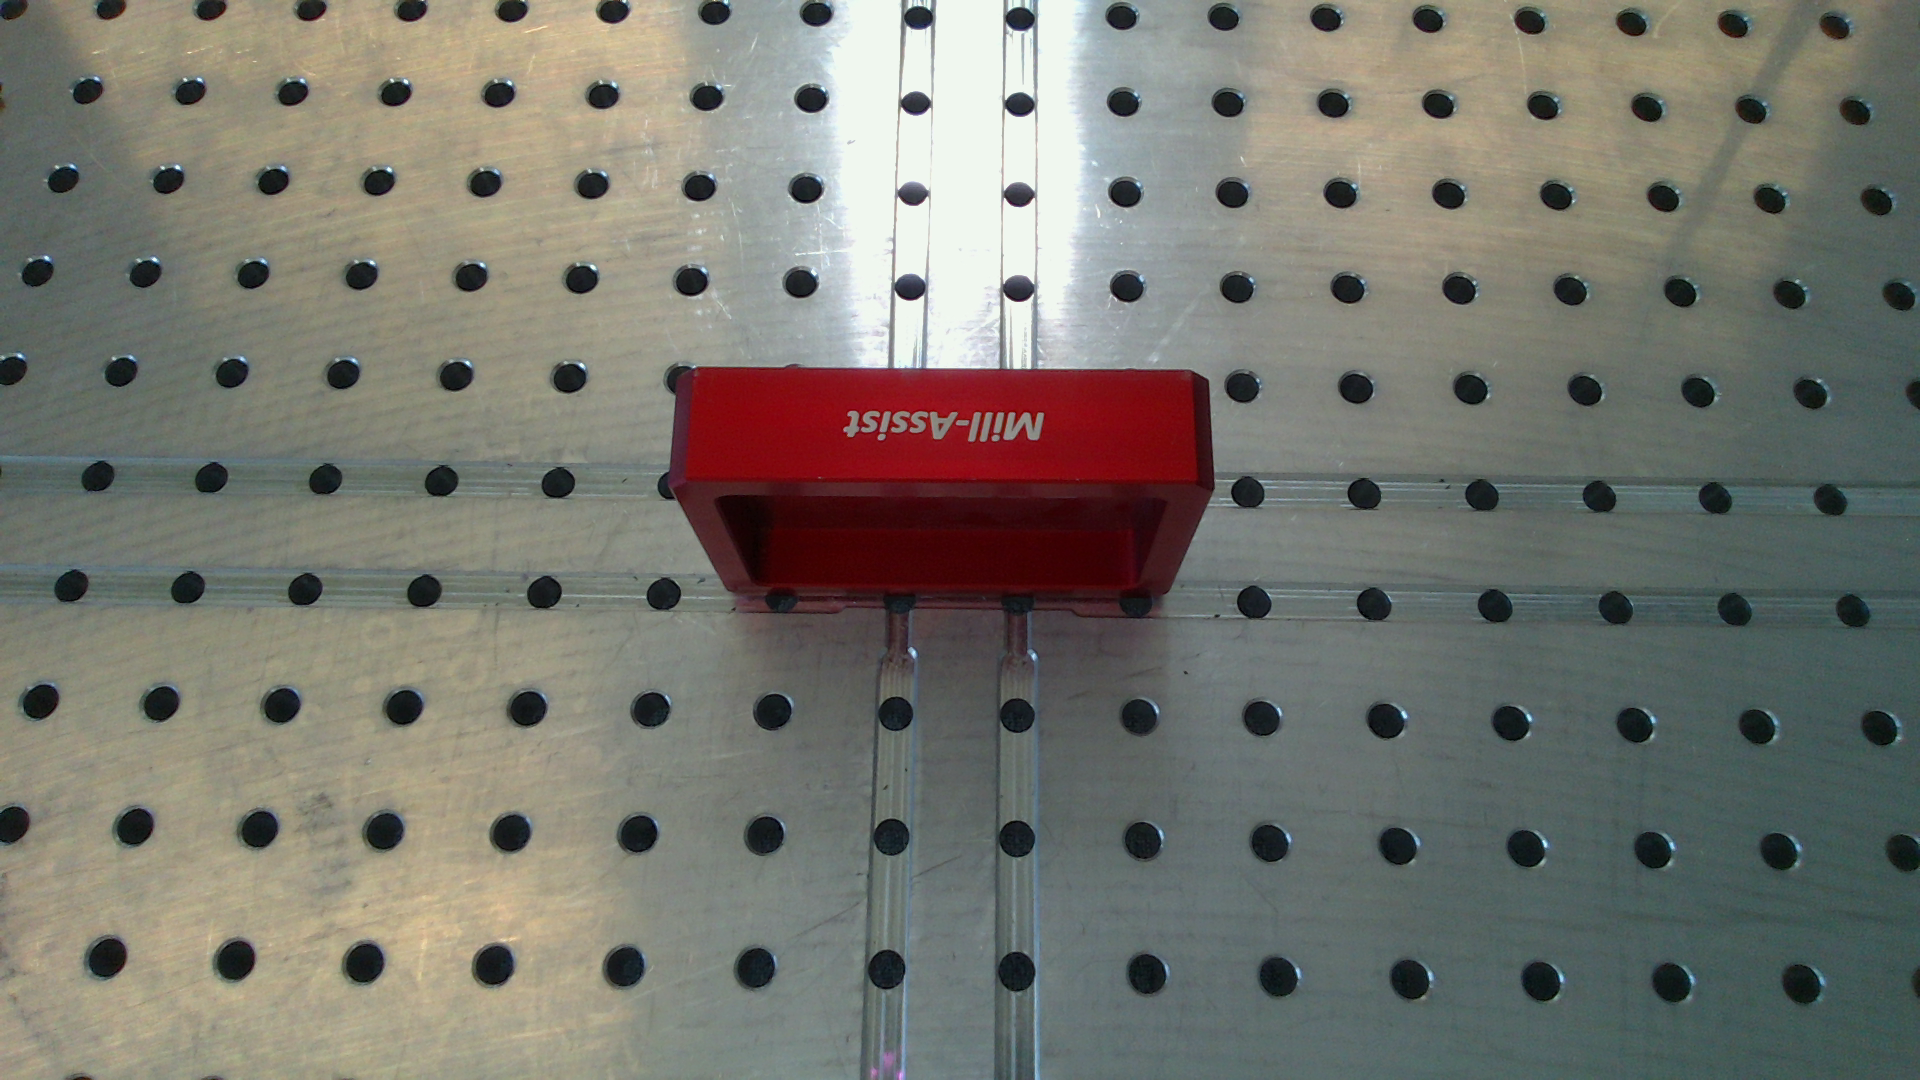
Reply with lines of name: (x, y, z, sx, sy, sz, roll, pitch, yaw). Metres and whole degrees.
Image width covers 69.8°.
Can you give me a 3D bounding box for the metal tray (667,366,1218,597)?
metal tray: (-0.004, -0.013, 0.367, 0.130, 0.090, 0.030, 0, 70, 0)
